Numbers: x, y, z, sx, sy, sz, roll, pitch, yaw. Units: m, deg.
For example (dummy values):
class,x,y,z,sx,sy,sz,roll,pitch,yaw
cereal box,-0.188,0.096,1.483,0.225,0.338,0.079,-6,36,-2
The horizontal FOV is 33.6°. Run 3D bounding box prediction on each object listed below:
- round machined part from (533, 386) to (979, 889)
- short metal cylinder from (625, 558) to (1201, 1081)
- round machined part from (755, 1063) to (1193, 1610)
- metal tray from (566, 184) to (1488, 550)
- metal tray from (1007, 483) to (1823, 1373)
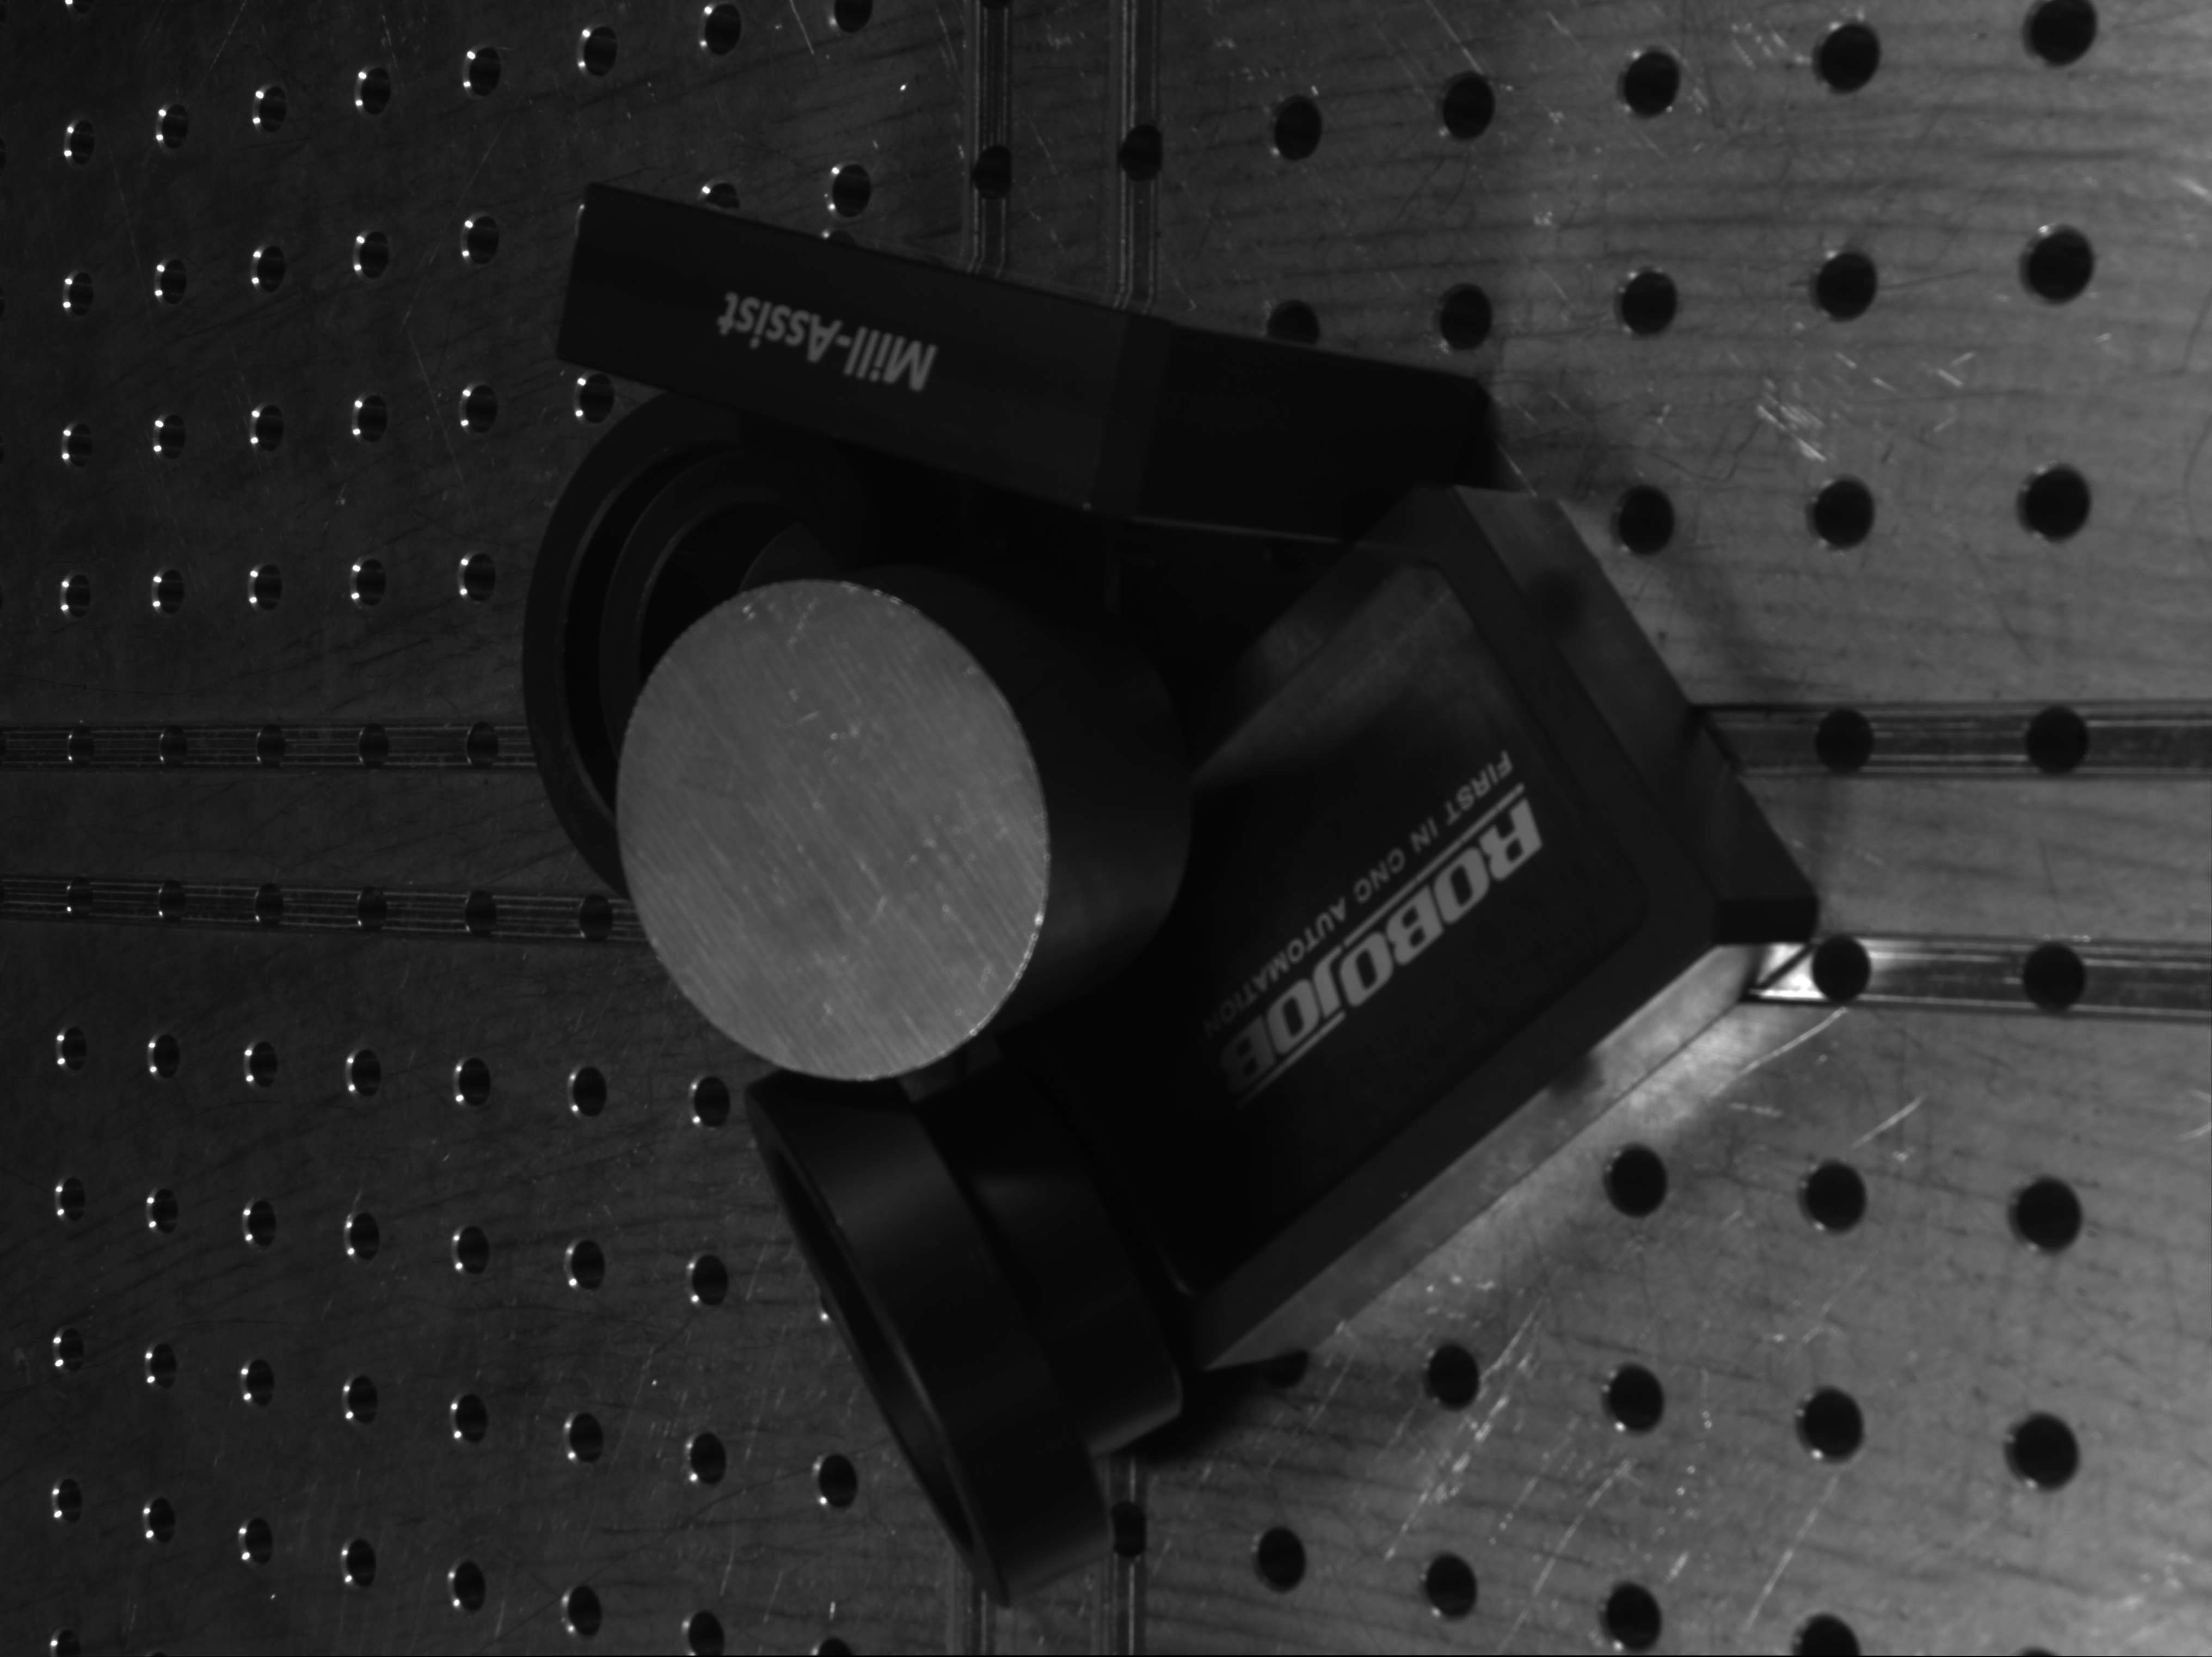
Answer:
class,x,y,z,sx,sy,sz,roll,pitch,yaw
round machined part,-0.058,-0.032,0.676,0.098,0.042,0.098,0,90,39
short metal cylinder,-0.031,-0.003,0.601,0.080,0.050,0.080,5,101,27
round machined part,-0.020,0.079,0.622,0.098,0.042,0.098,59,167,23
metal tray,-0.014,-0.077,0.609,0.130,0.090,0.030,20,102,38
metal tray,0.043,0.018,0.600,0.130,0.030,0.090,-44,64,30
